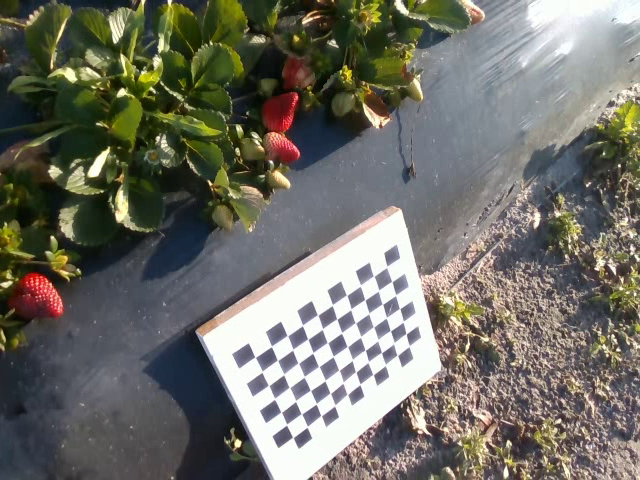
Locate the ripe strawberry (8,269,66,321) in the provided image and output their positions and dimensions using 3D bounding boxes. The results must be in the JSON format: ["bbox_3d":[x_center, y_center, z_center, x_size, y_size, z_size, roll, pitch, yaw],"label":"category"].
[{"bbox_3d":[-0.270,0.060,0.571,0.051,0.052,0.041,28,-7,21],"label":"ripe strawberry"}]
